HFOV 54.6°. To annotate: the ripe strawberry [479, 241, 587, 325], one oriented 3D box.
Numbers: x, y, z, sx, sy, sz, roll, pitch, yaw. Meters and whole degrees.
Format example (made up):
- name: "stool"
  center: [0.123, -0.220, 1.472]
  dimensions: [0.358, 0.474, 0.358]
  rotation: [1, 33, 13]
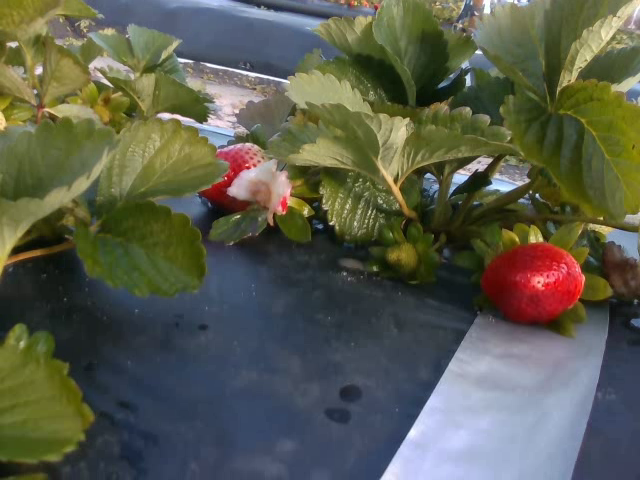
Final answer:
- name: "ripe strawberry"
  center: [0.081, 0.014, 0.229]
  dimensions: [0.050, 0.036, 0.055]
  rotation: [31, 29, 26]
